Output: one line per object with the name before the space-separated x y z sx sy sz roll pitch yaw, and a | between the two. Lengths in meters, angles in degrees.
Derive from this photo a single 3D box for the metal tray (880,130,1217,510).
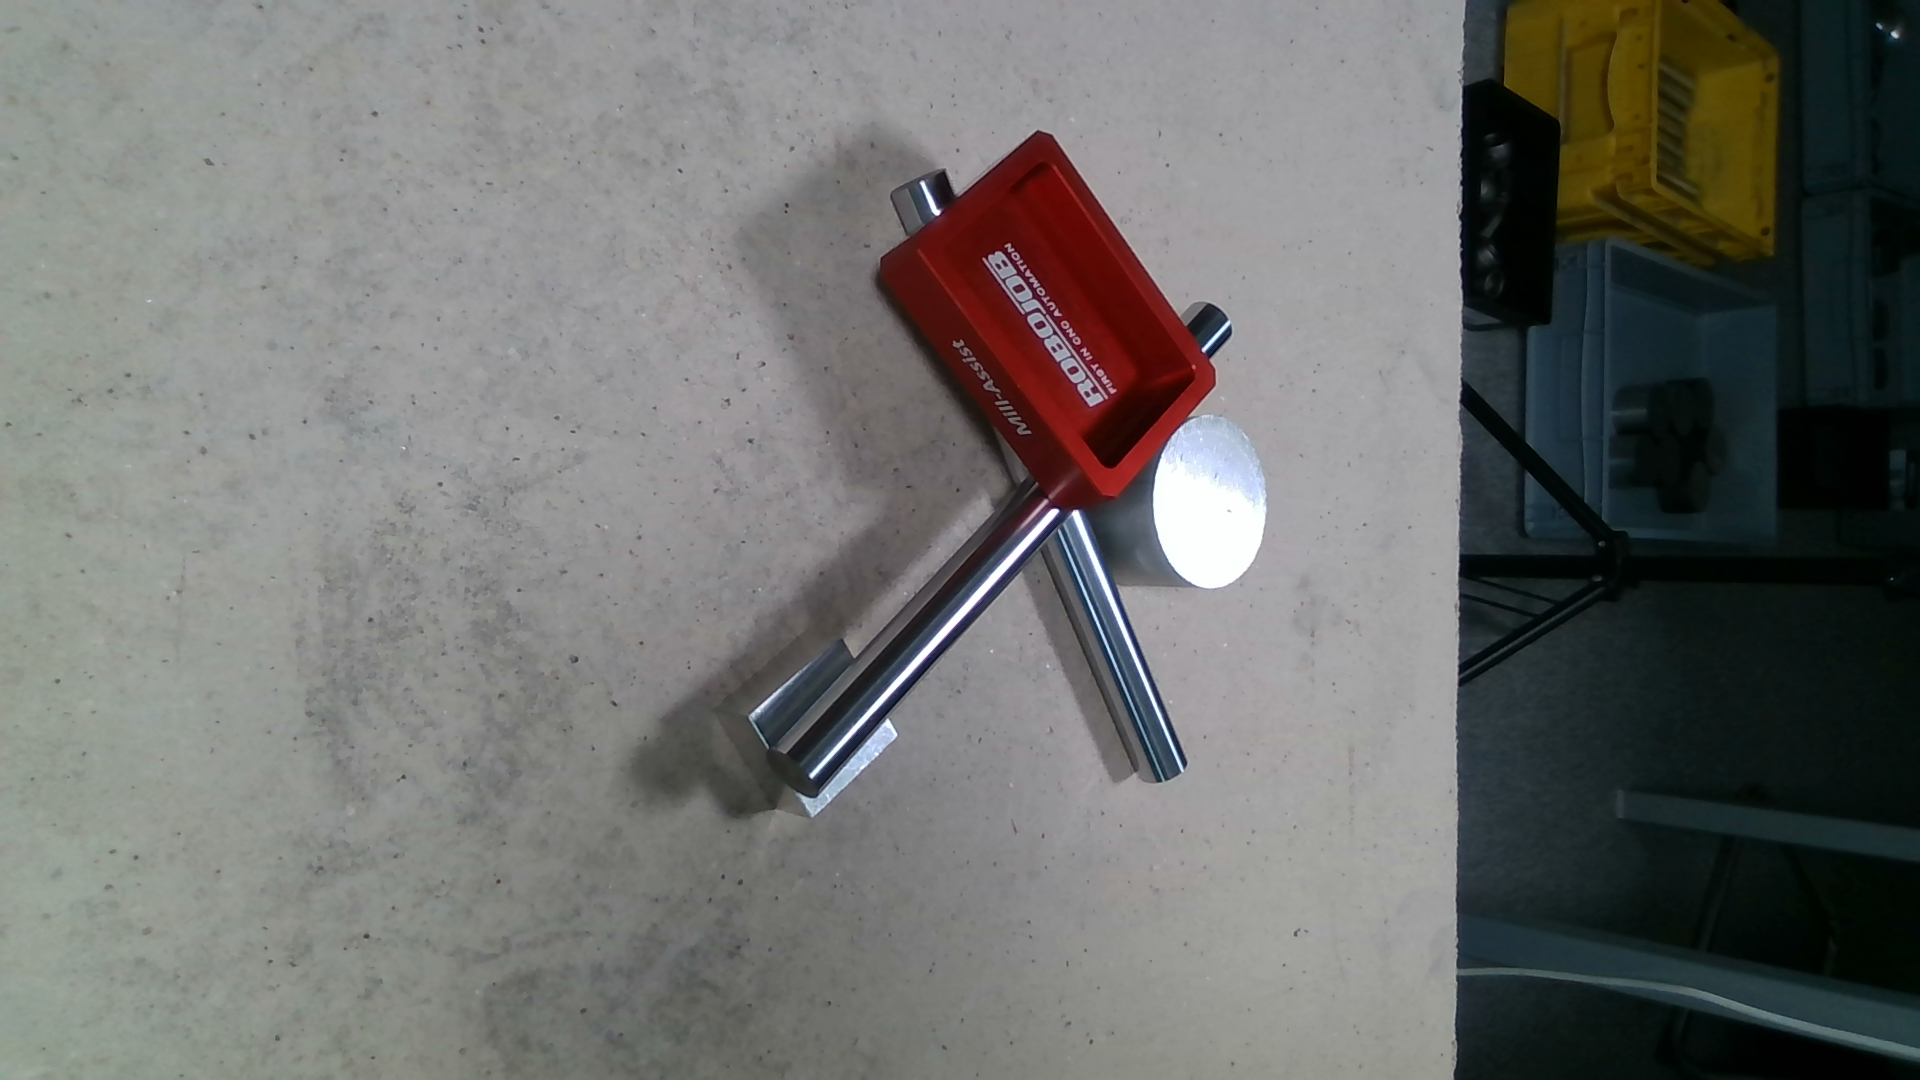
metal tray | 0.039 -0.089 0.562 0.130 0.030 0.090 51 58 -14

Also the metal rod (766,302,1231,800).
metal rod | 0.028 -0.008 0.575 0.299 0.025 0.025 -46 118 -30

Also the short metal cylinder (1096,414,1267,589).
short metal cylinder | 0.100 -0.018 0.650 0.080 0.050 0.080 0 90 -40

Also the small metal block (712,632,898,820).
small metal block | -0.059 0.071 0.533 0.050 0.025 0.050 -41 115 -32

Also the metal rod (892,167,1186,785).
metal rod | 0.040 -0.019 0.617 0.025 0.025 0.301 -37 113 -34
